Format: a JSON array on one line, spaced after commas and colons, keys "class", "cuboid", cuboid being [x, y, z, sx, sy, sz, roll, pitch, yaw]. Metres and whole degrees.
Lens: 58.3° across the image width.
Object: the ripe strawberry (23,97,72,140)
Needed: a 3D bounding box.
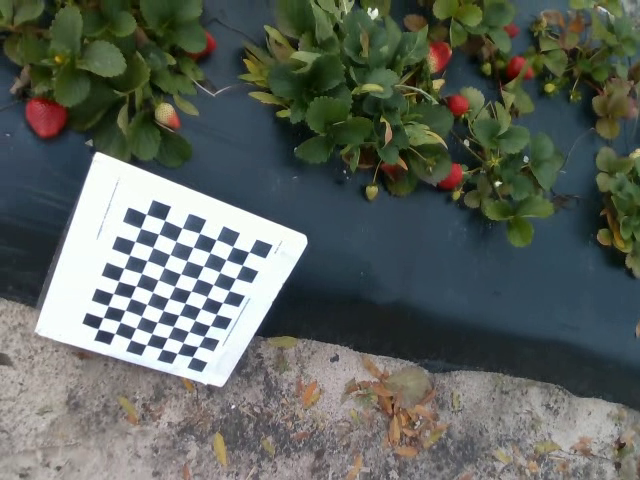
[{"class": "ripe strawberry", "cuboid": [-0.260, -0.114, 0.539, 0.037, 0.046, 0.036, -15, -20, 10]}]
